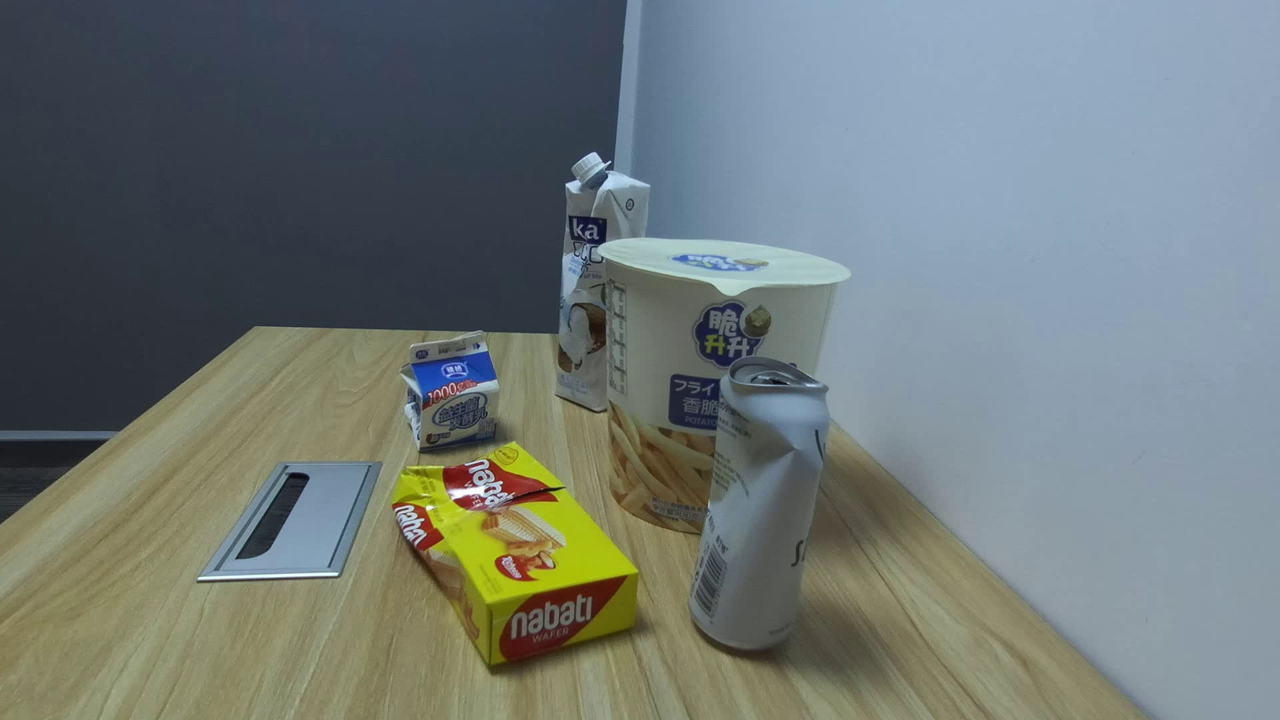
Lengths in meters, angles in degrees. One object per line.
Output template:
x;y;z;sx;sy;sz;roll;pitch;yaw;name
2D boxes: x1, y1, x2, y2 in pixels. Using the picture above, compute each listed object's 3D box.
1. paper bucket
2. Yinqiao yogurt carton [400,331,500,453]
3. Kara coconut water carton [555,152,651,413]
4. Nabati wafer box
0.055;0.014;0.562;0.198;0.194;0.198;4;18;-1;paper bucket
-0.176;0.023;0.644;0.075;0.097;0.080;-10;27;-33;Yinqiao yogurt carton
-0.040;-0.080;0.730;0.079;0.255;0.083;-10;23;-33;Kara coconut water carton
-0.095;0.114;0.471;0.107;0.042;0.203;-4;18;-31;Nabati wafer box
